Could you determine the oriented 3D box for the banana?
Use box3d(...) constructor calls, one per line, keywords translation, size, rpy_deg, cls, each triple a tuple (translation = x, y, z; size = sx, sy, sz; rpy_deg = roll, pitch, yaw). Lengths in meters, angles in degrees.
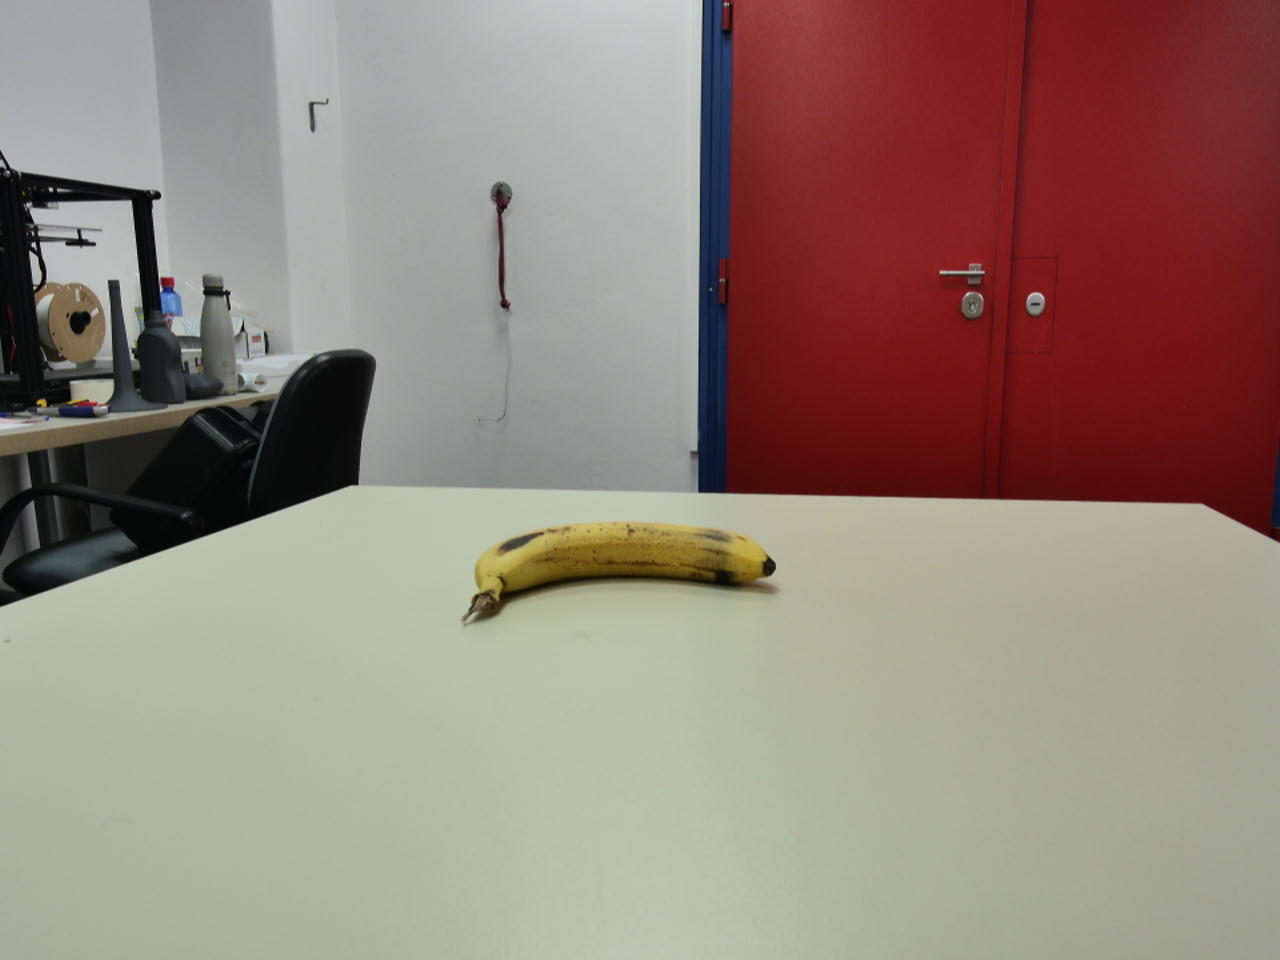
box3d(translation=(-0.018, 0.050, 0.618), size=(0.186, 0.038, 0.097), rpy_deg=(-3, 8, -16), cls="banana")
